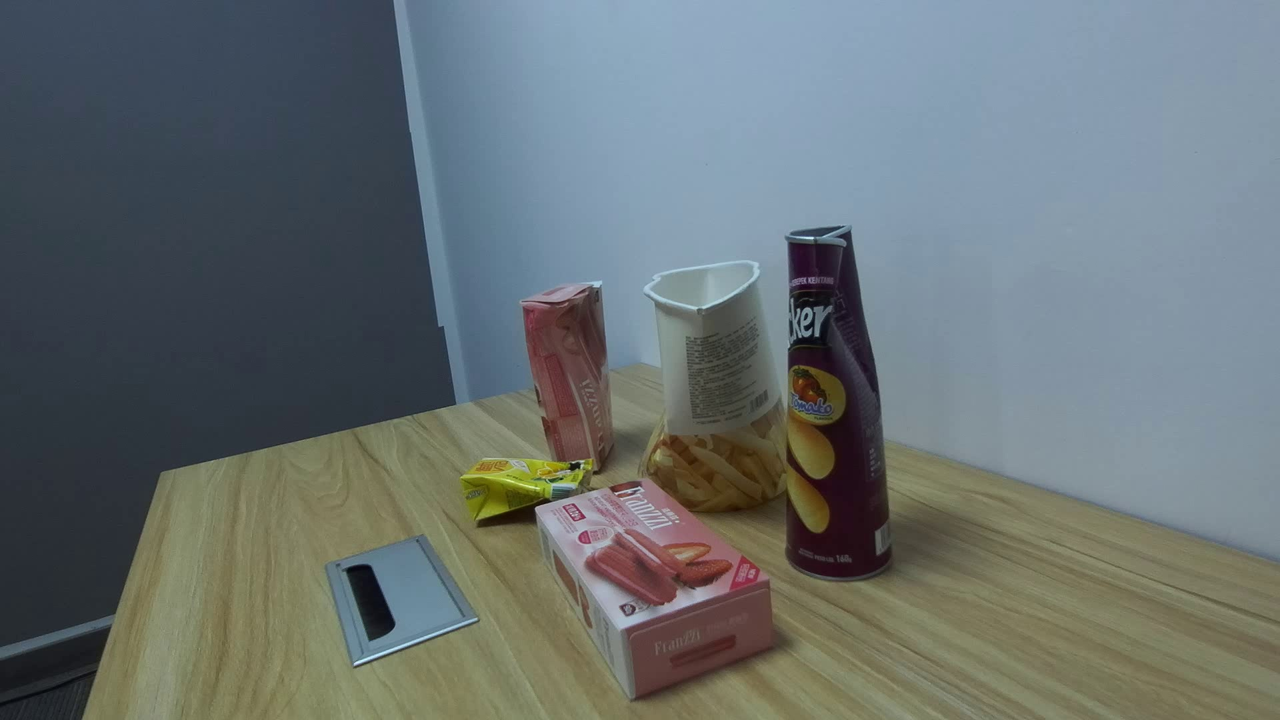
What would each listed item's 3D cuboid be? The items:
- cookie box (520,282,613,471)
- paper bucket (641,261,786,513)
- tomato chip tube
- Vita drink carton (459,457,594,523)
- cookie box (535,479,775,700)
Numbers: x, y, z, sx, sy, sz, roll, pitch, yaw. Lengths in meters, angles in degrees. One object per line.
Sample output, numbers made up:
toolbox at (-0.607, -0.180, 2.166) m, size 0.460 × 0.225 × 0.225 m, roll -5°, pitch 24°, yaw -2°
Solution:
cookie box at (-0.066, 0.019, 0.730) m, size 0.055 × 0.184 × 0.118 m, roll -2°, pitch 14°, yaw 16°
paper bucket at (0.063, 0.018, 0.640) m, size 0.148 × 0.199 × 0.217 m, roll -12°, pitch 14°, yaw -22°
tomato chip tube at (0.135, 0.028, 0.487) m, size 0.078 × 0.235 × 0.076 m, roll -10°, pitch 14°, yaw -18°
Vita drink carton at (-0.098, 0.117, 0.641) m, size 0.108 × 0.042 × 0.087 m, roll -1°, pitch 7°, yaw 7°
cookie box at (0.000, 0.141, 0.478) m, size 0.096 × 0.048 × 0.183 m, roll -12°, pitch 15°, yaw -21°
